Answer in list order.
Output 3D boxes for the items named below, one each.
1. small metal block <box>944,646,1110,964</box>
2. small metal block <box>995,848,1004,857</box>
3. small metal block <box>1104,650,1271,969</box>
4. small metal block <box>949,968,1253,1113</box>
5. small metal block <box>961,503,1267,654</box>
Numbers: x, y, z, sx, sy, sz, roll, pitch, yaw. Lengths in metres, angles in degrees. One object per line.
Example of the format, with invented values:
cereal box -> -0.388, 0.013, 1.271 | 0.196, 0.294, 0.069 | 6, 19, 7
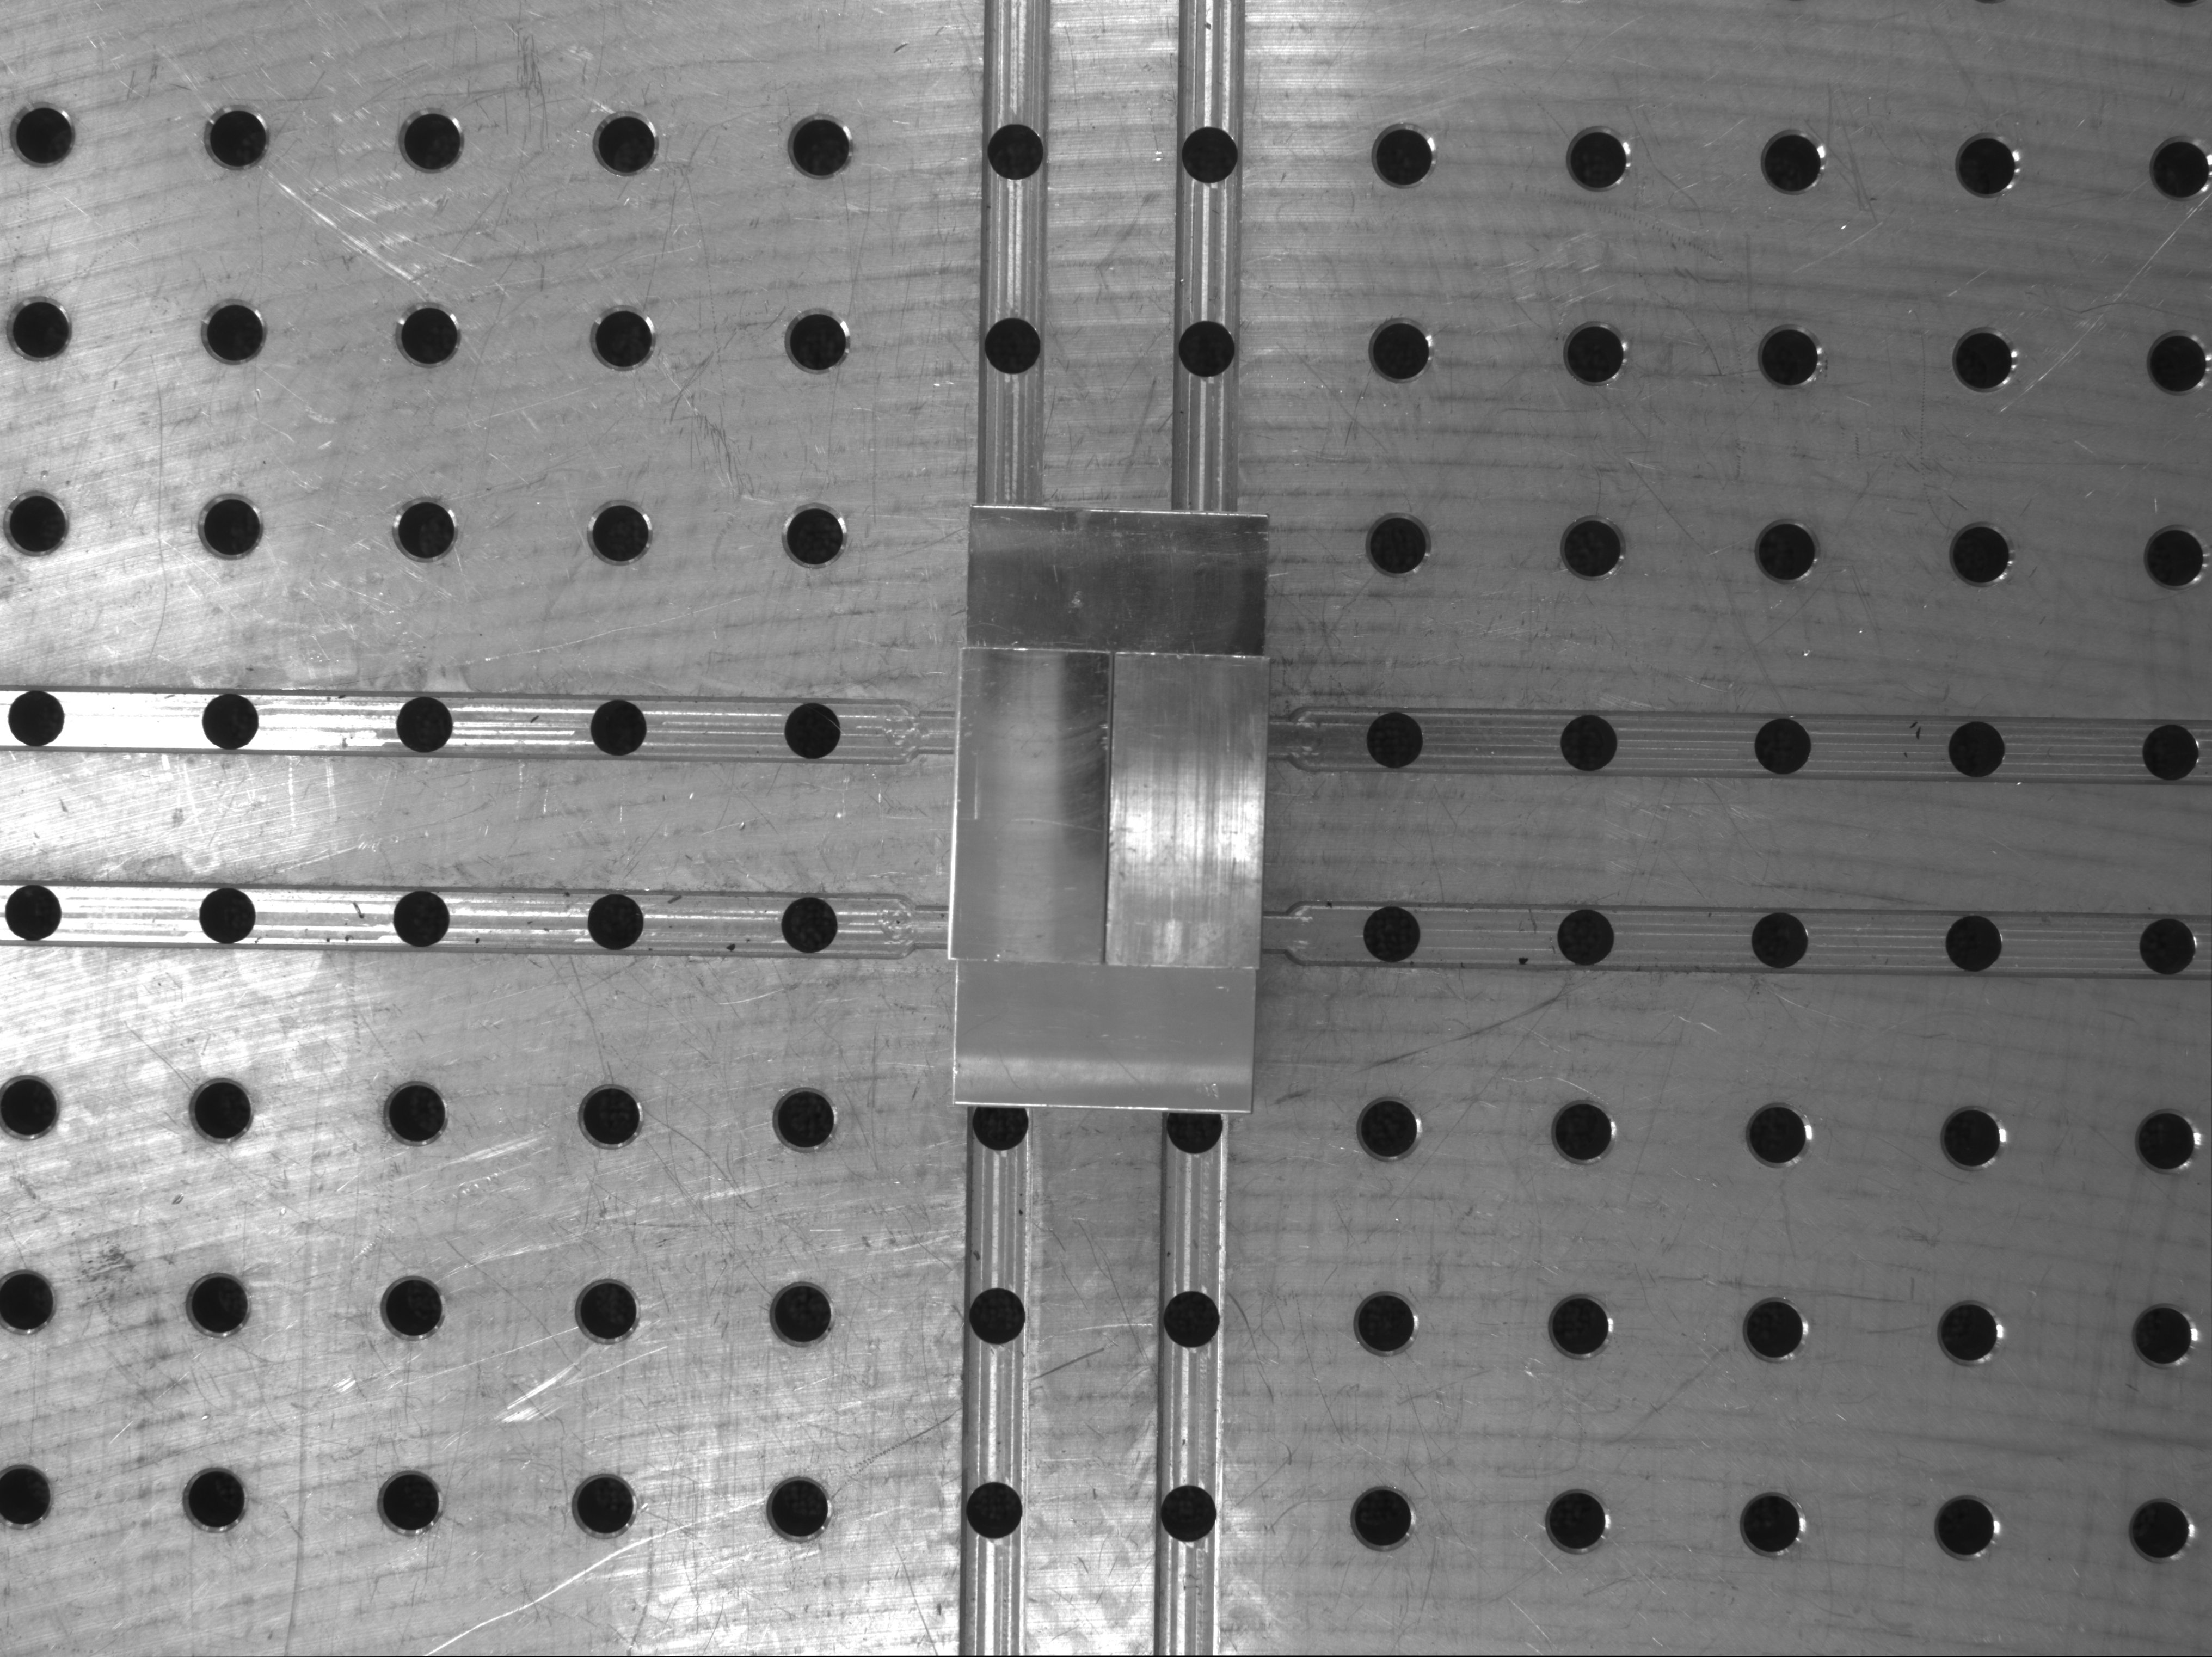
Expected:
small metal block -> -0.013, -0.004, 0.610 | 0.025, 0.050, 0.050 | 2, 90, 0
small metal block -> 0.000, -0.003, 0.648 | 0.050, 0.025, 0.050 | 2, 90, 1
small metal block -> 0.014, -0.003, 0.611 | 0.025, 0.050, 0.050 | 2, 90, 2
small metal block -> -0.001, 0.034, 0.635 | 0.050, 0.050, 0.025 | 2, 90, 0
small metal block -> 0.002, -0.041, 0.635 | 0.050, 0.050, 0.025 | 2, 90, 0
